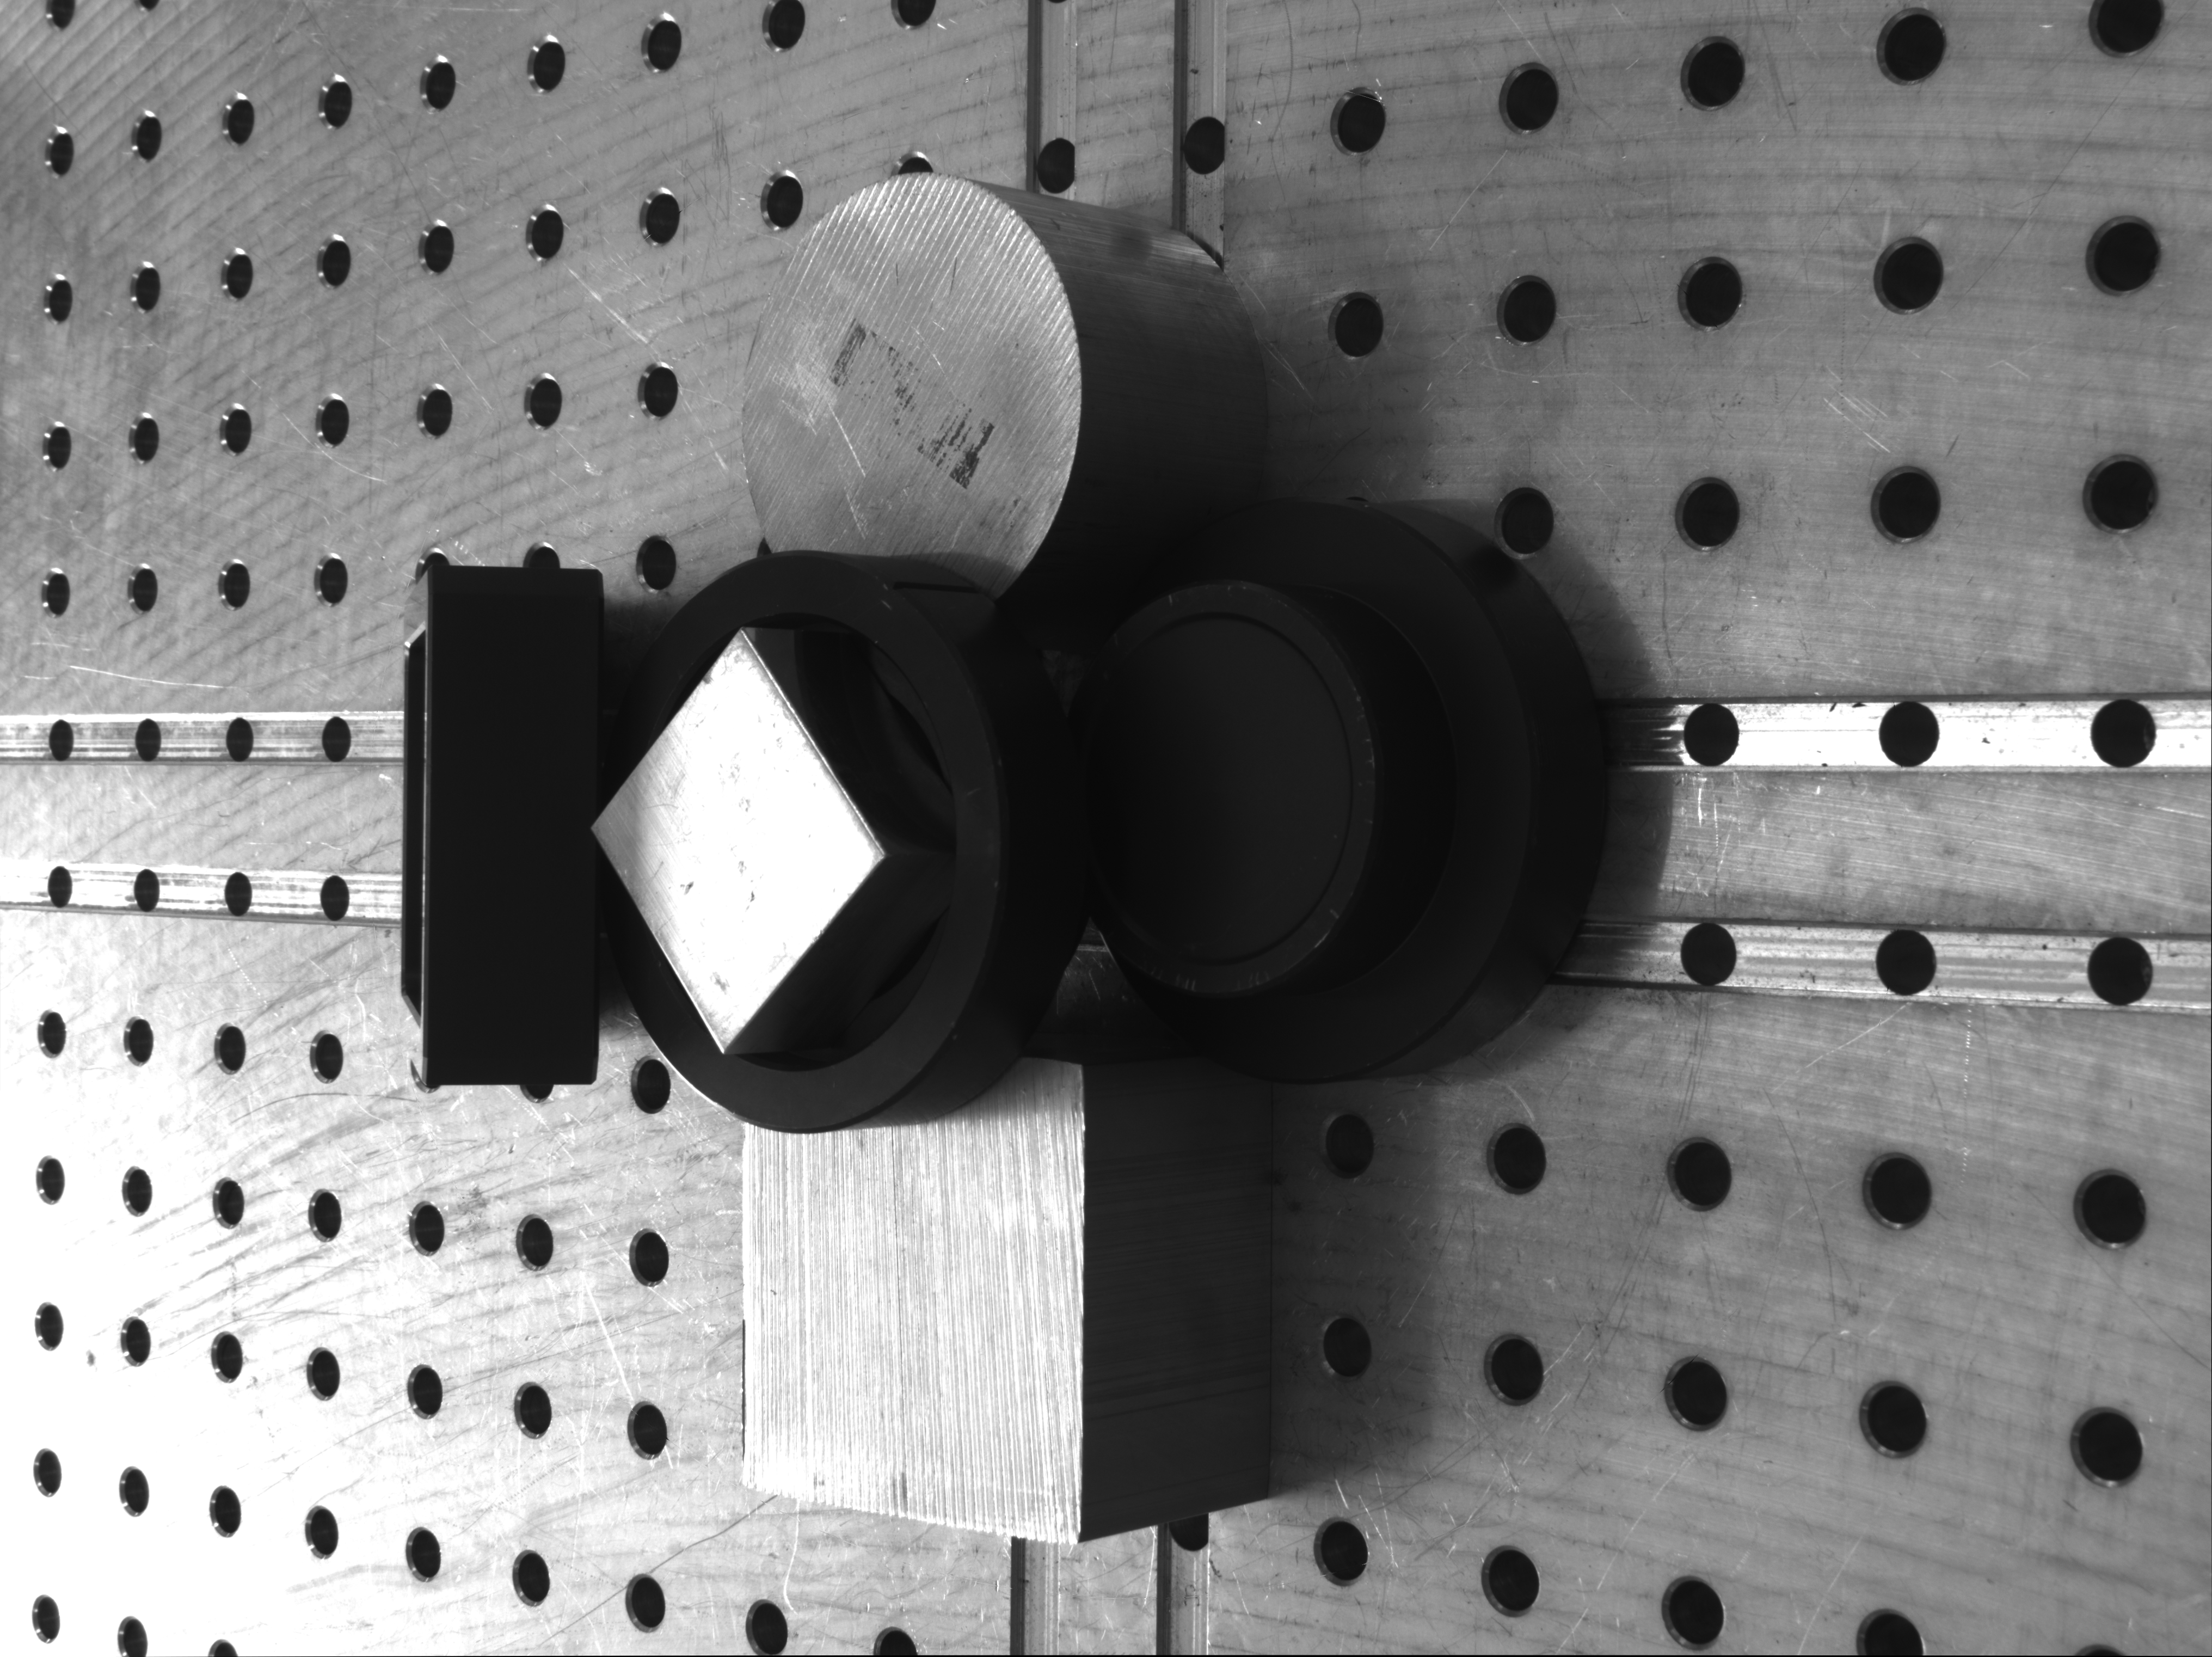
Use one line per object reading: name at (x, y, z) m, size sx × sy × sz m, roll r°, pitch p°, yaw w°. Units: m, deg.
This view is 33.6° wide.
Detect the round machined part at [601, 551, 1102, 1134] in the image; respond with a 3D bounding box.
round machined part at (-0.039, 0.002, 0.632) m, size 0.098 × 0.042 × 0.098 m, roll 0°, pitch 90°, yaw 40°

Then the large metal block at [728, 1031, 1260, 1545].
large metal block at (-0.020, 0.077, 0.645) m, size 0.080 × 0.050 × 0.080 m, roll 1°, pitch 90°, yaw 40°

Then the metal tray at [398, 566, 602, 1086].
metal tray at (-0.117, -0.001, 0.696) m, size 0.130 × 0.030 × 0.090 m, roll -177°, pitch 87°, yaw -77°

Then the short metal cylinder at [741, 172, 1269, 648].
short metal cylinder at (-0.018, -0.072, 0.647) m, size 0.080 × 0.050 × 0.080 m, roll 0°, pitch 90°, yaw 40°

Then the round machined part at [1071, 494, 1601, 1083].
round machined part at (0.030, -0.007, 0.610) m, size 0.098 × 0.042 × 0.098 m, roll 0°, pitch 90°, yaw 40°

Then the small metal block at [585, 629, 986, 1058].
small metal block at (-0.054, 0.003, 0.612) m, size 0.050 × 0.025 × 0.050 m, roll -49°, pitch 61°, yaw 29°
